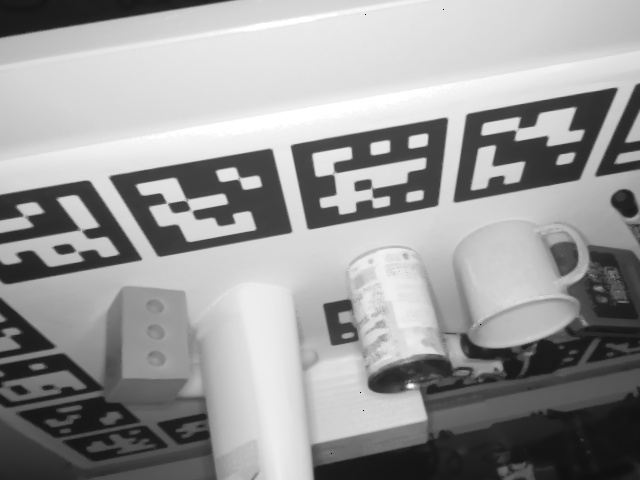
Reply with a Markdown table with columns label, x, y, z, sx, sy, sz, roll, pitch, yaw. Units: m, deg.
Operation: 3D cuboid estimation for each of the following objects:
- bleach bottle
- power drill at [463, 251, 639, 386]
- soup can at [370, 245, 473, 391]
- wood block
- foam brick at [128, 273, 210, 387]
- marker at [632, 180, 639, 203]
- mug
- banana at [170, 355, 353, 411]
| label | x | y | z | sx | sy | sz | roll | pitch | yaw |
| --- | --- | --- | --- | --- | --- | --- | --- | --- | --- |
| bleach bottle | -0.030 | 0.157 | 0.555 | 0.069 | 0.252 | 0.101 | 8 | 141 | -24 |
| power drill | 0.246 | 0.091 | 0.709 | 0.186 | 0.058 | 0.184 | 10 | 140 | -21 |
| soup can | 0.081 | 0.064 | 0.572 | 0.068 | 0.102 | 0.067 | -6 | 148 | -3 |
| wood block | 0.027 | 0.195 | 0.758 | 0.206 | 0.091 | 0.089 | -11 | 143 | 0 |
| foam brick | -0.124 | 0.074 | 0.568 | 0.053 | 0.078 | 0.050 | 10 | 141 | -28 |
| marker | 0.295 | -0.019 | 0.600 | 0.019 | 0.020 | 0.122 | -31 | 138 | 23 |
| mug | 0.185 | 0.030 | 0.579 | 0.094 | 0.082 | 0.115 | 21 | 131 | -32 |
| banana | -0.066 | 0.140 | 0.698 | 0.199 | 0.039 | 0.073 | 1 | 129 | -12 |
